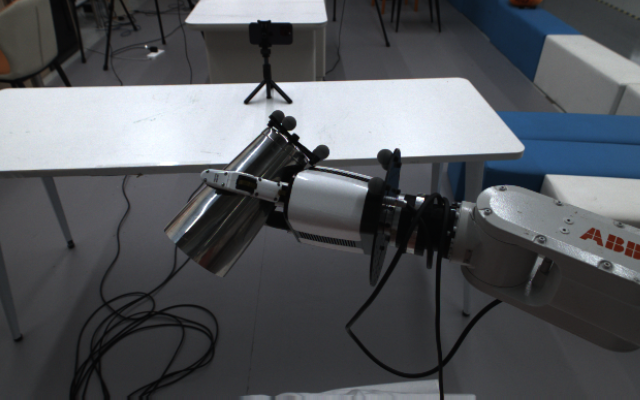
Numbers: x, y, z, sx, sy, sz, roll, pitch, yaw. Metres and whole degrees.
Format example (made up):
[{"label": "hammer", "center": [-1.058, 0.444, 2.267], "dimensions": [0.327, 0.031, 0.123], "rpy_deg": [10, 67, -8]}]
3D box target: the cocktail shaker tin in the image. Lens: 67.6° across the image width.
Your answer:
[{"label": "cocktail shaker tin", "center": [-0.092, -0.004, 0.582], "dimensions": [0.170, 0.093, 0.093], "rpy_deg": [-48, 49, -3]}]
